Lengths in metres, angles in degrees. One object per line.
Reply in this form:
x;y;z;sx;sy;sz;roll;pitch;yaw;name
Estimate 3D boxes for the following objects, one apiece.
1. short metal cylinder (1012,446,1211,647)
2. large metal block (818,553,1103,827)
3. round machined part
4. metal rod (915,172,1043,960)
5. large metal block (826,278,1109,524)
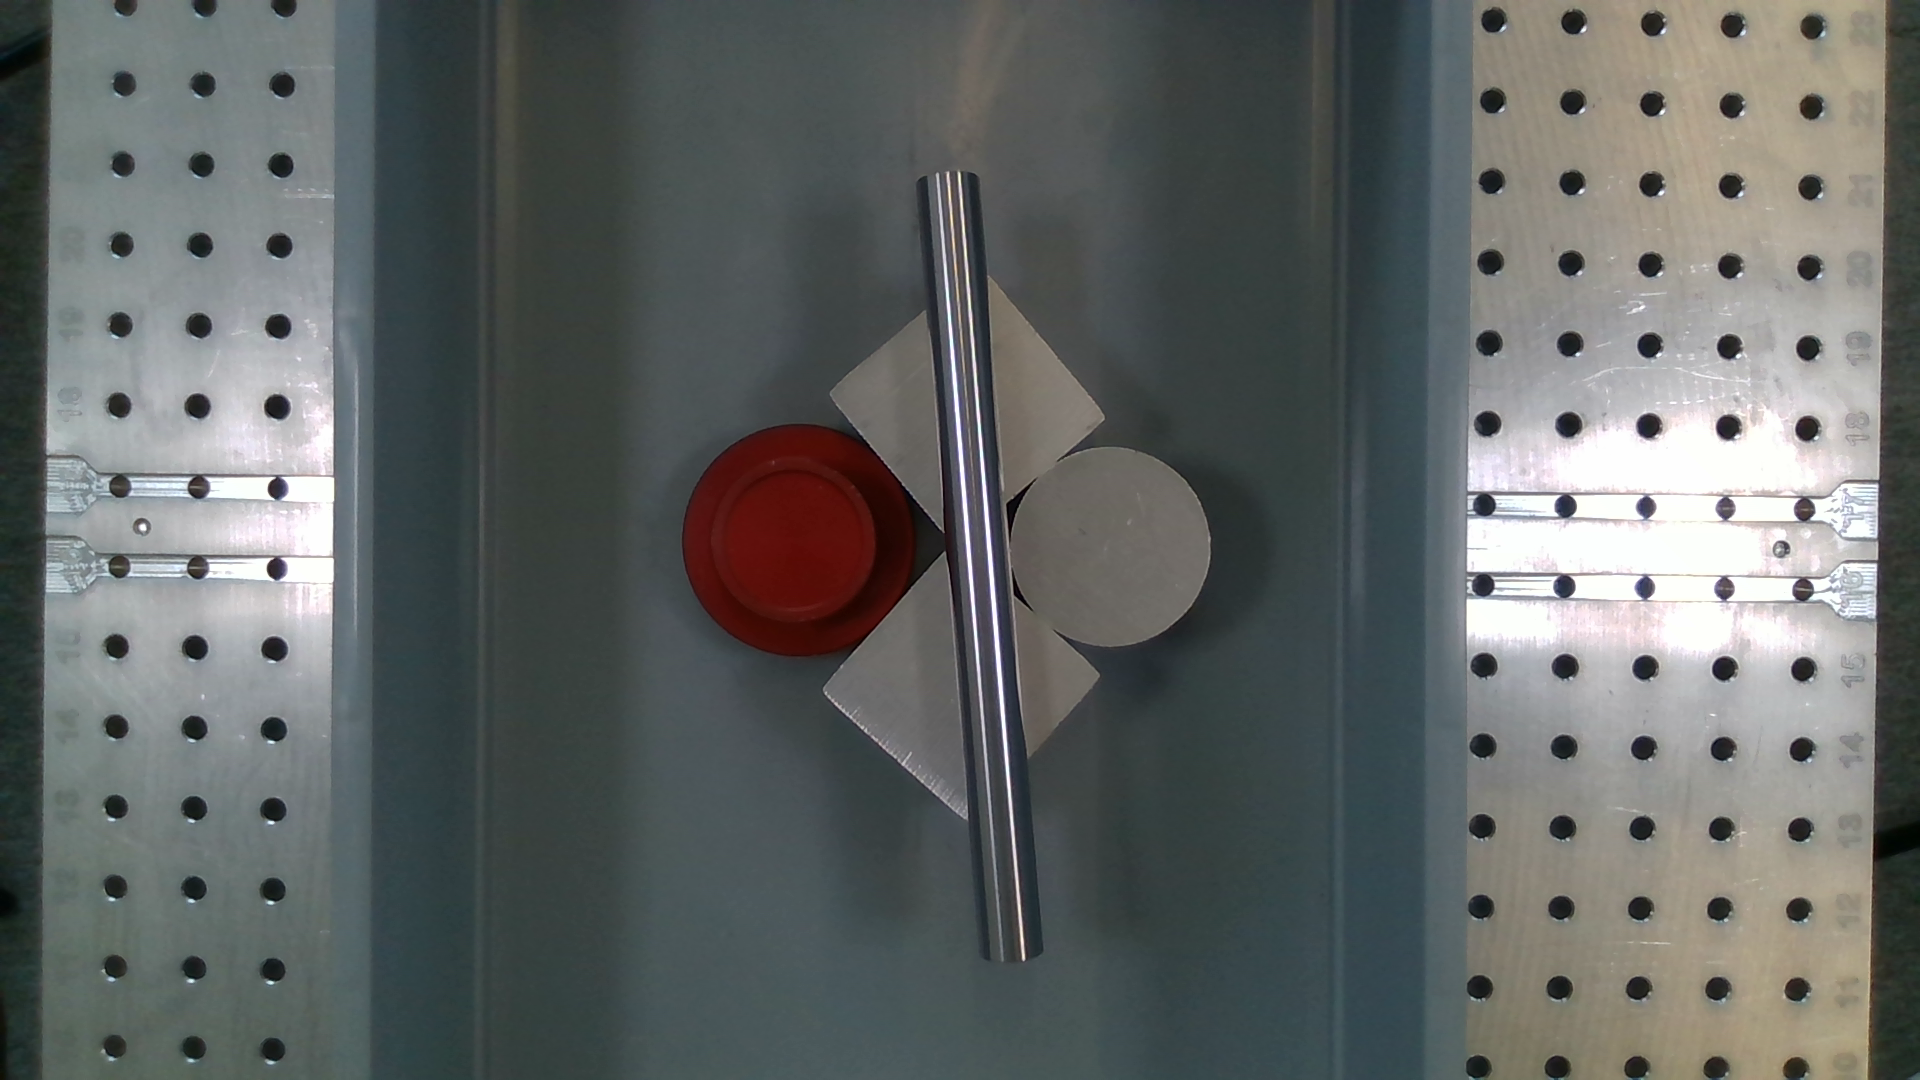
0.060;0.003;0.574;0.080;0.050;0.080;0;90;0;short metal cylinder
0.000;0.058;0.572;0.080;0.050;0.080;42;90;1;large metal block
-0.068;0.000;0.577;0.098;0.042;0.098;0;91;0;round machined part
0.007;0.010;0.534;0.025;0.025;0.300;-5;90;0;metal rod
0.003;-0.055;0.573;0.080;0.050;0.080;-40;91;2;large metal block
